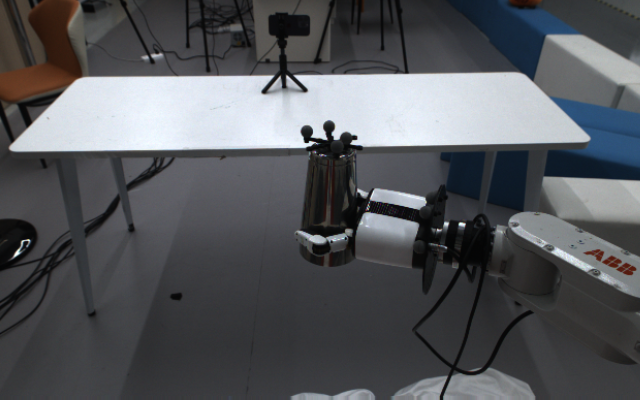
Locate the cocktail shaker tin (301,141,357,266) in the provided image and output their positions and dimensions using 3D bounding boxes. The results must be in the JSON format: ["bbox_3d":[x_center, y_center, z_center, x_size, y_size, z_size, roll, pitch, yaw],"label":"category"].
[{"bbox_3d":[0.016,0.002,0.719,0.093,0.170,0.093,1,28,-1],"label":"cocktail shaker tin"}]
